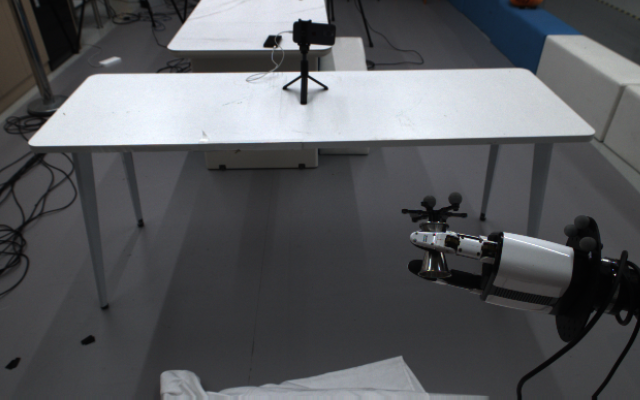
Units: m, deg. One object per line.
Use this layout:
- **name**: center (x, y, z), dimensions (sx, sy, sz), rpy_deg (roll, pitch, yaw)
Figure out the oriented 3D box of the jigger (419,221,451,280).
- **jigger**: center (0.152, 0.065, 0.649), dimensions (0.043, 0.043, 0.071), rpy_deg (4, 71, 2)
